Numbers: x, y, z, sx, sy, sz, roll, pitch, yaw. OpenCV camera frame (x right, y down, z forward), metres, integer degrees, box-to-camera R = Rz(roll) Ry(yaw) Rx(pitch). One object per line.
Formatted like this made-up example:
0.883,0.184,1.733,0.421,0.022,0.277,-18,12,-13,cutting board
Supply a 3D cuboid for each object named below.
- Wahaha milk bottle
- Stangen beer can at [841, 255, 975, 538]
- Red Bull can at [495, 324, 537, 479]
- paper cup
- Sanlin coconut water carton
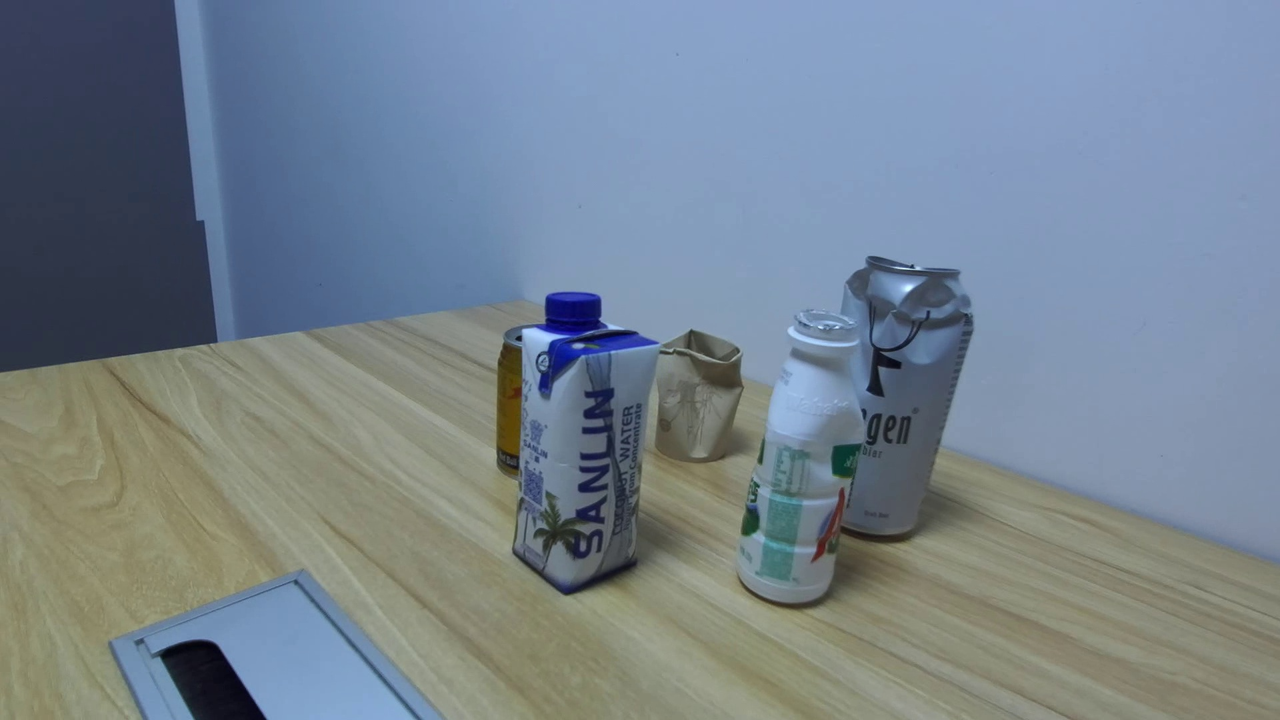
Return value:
0.084,0.050,0.356,0.055,0.149,0.055,5,20,-2,Wahaha milk bottle
0.151,0.024,0.432,0.066,0.166,0.065,2,18,-13,Stangen beer can
-0.066,0.029,0.496,0.067,0.093,0.067,3,15,0,Red Bull can
0.037,0.027,0.520,0.058,0.083,0.066,-11,21,-37,paper cup
-0.029,0.041,0.368,0.061,0.144,0.060,-10,24,-43,Sanlin coconut water carton
